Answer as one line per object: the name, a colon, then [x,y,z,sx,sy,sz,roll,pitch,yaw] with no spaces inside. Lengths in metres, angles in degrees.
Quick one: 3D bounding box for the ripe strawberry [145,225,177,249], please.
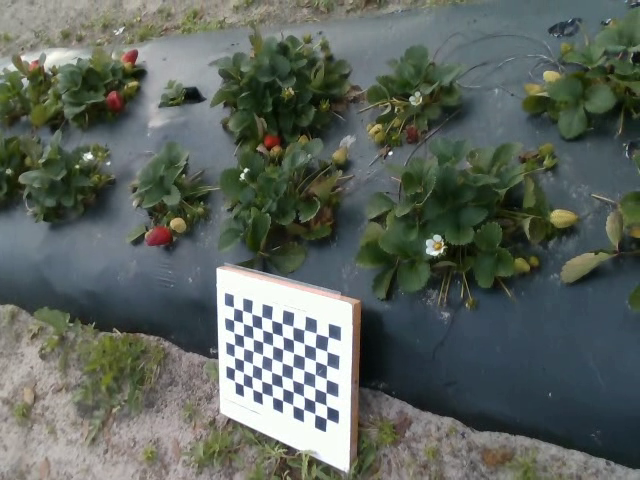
ripe strawberry: [-0.337,0.000,1.300,0.046,0.046,0.059,4,33,40]
